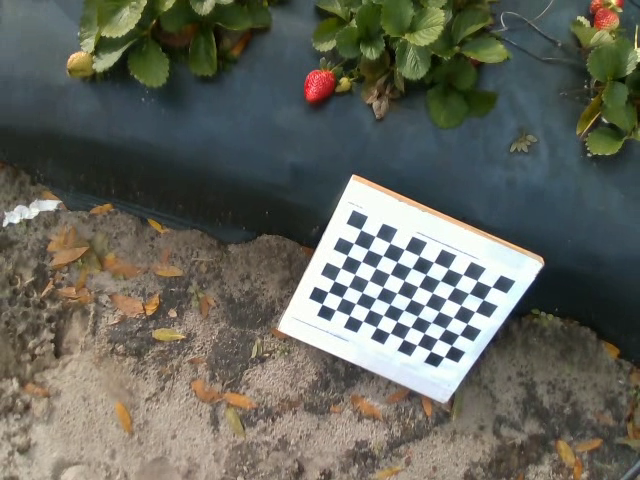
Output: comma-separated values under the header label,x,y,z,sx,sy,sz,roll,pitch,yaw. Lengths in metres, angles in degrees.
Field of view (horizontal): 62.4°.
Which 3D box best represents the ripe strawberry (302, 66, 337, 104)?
label,x,y,z,sx,sy,sz,roll,pitch,yaw
ripe strawberry,-0.003,-0.209,0.723,0.045,0.058,0.051,27,-25,-4
